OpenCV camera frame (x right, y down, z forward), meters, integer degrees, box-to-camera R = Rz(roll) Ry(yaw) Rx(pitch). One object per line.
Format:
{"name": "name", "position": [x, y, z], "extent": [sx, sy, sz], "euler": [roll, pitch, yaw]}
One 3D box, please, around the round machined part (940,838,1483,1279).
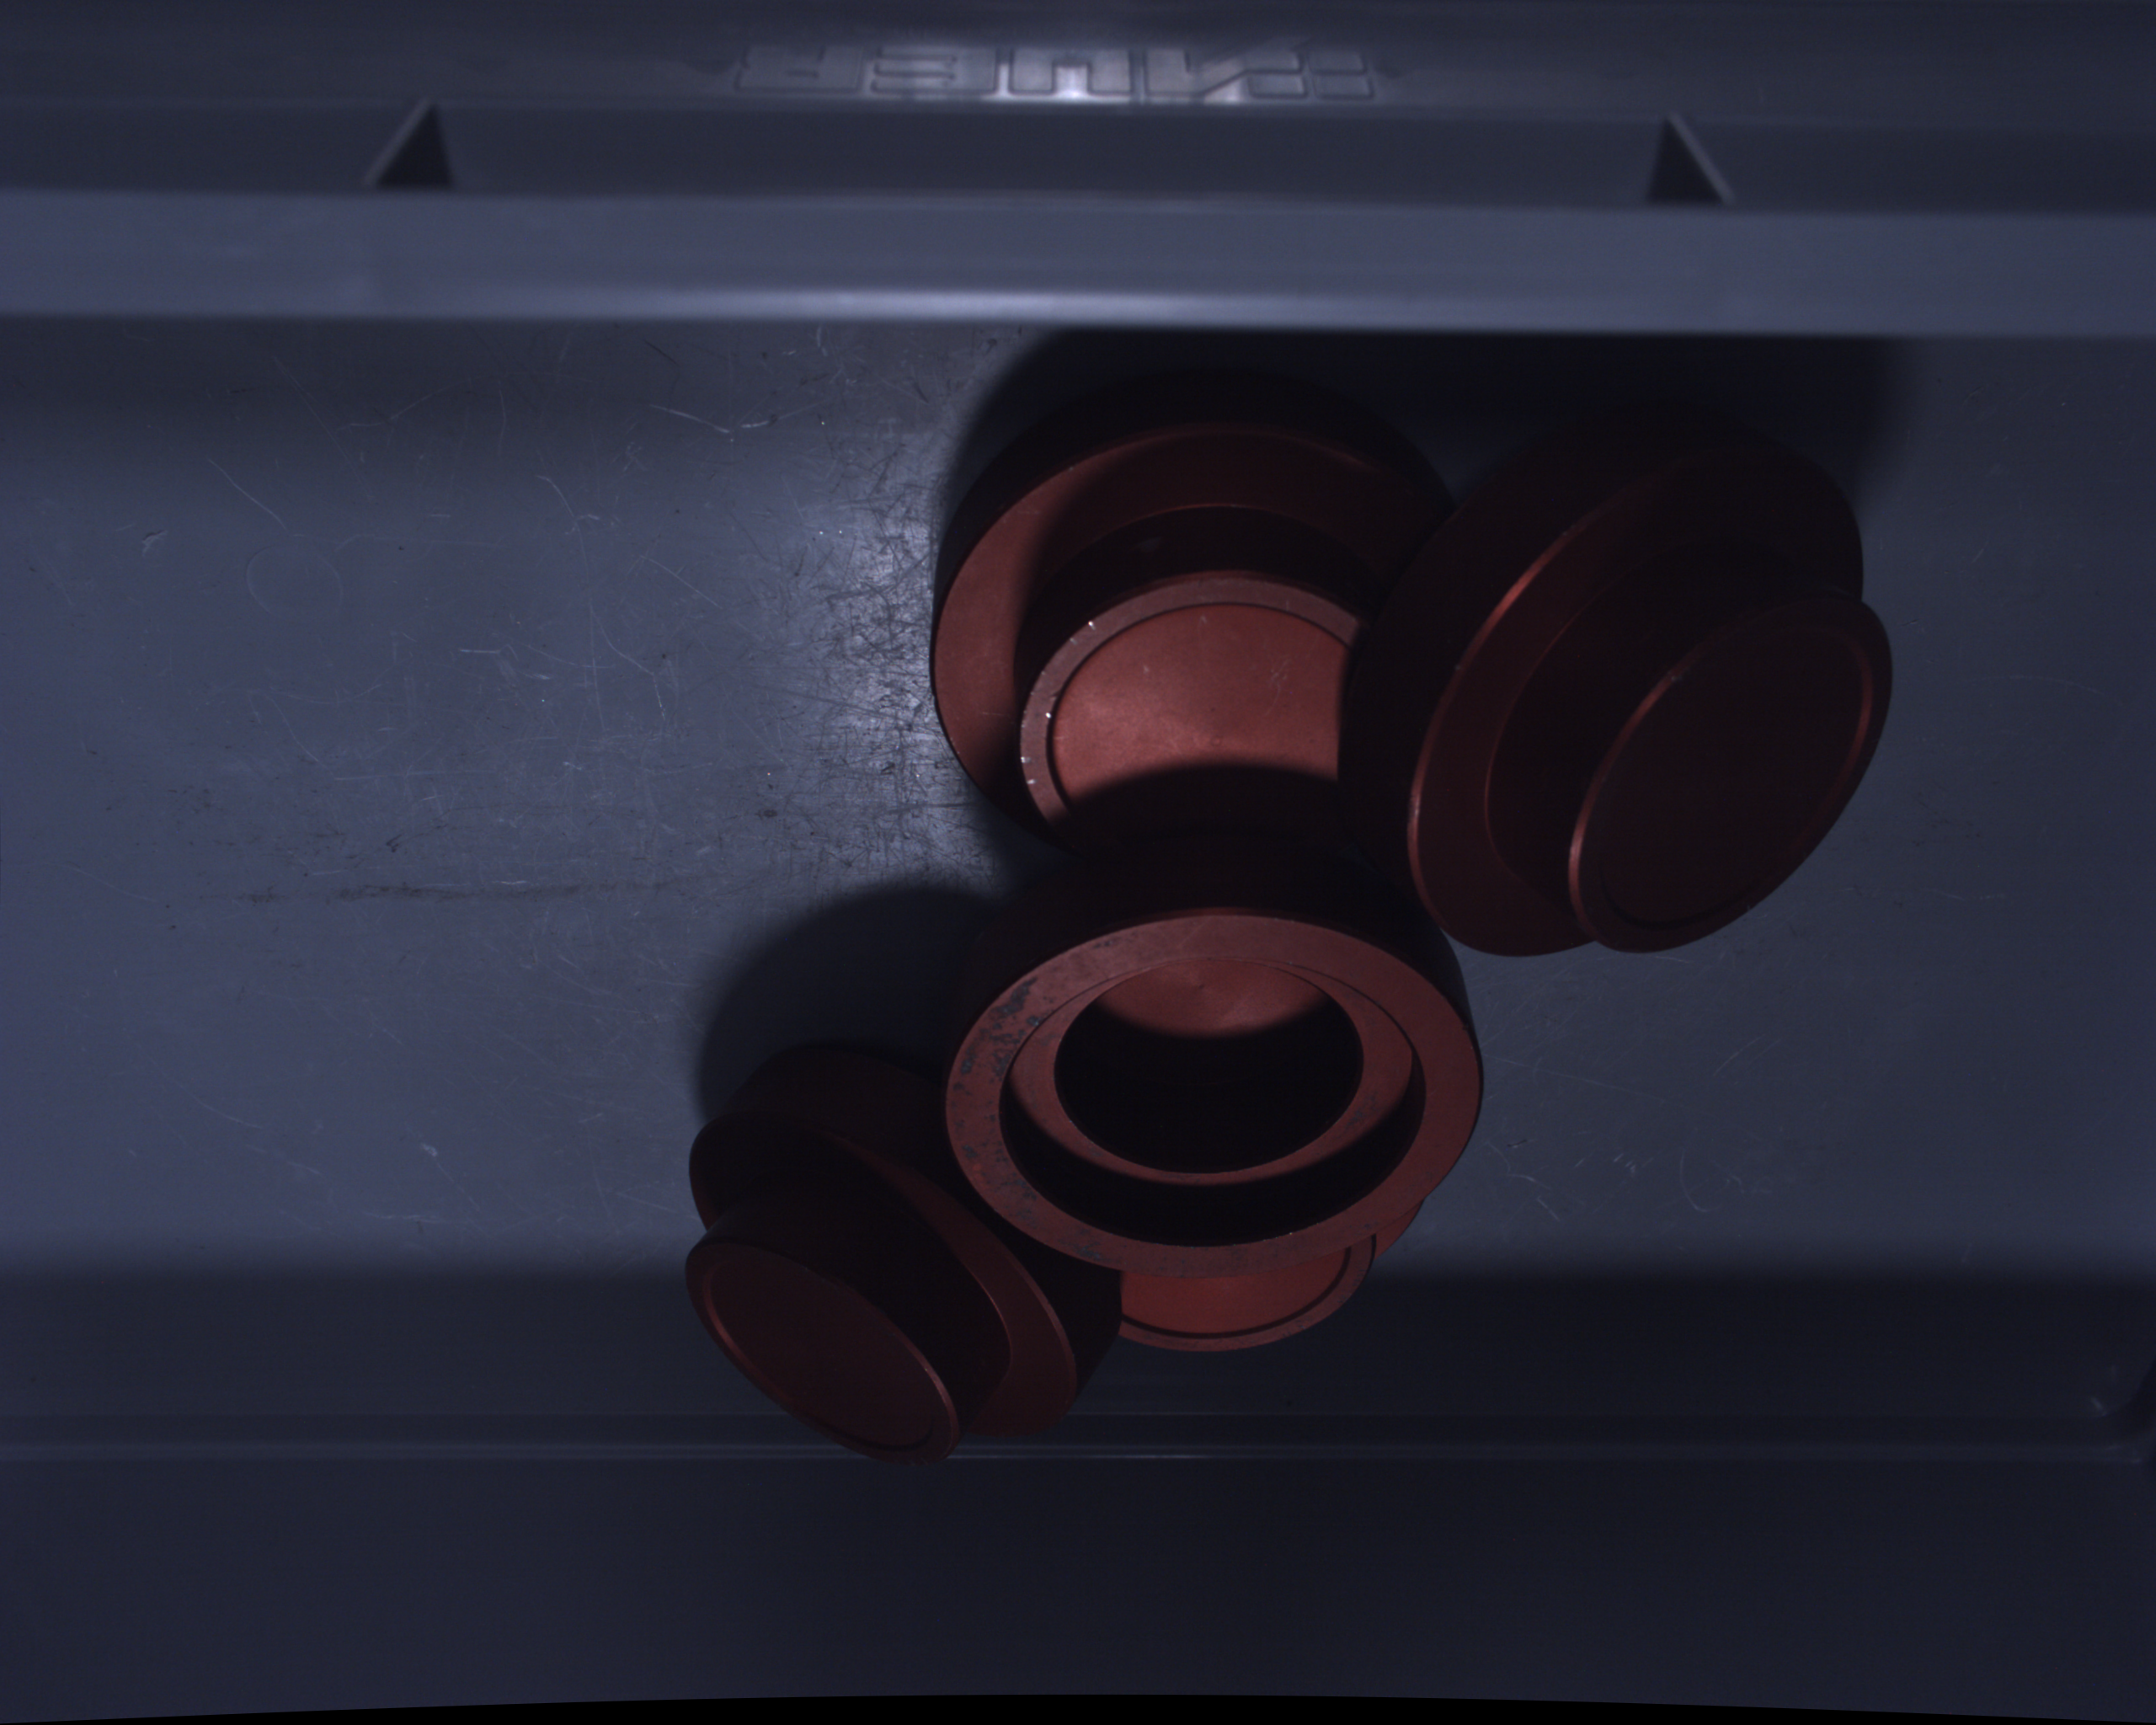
{"name": "round machined part", "position": [0.024, 0.032, 0.395], "extent": [0.099, 0.042, 0.097], "euler": [-1, 130, 0]}

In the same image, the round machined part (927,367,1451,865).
{"name": "round machined part", "position": [0.023, -0.034, 0.367], "extent": [0.099, 0.042, 0.097], "euler": [-1, 130, 0]}

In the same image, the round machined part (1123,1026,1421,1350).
{"name": "round machined part", "position": [0.028, 0.069, 0.455], "extent": [0.099, 0.042, 0.097], "euler": [-1, 130, 0]}

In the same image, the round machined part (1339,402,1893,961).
{"name": "round machined part", "position": [0.096, -0.023, 0.349], "extent": [0.099, 0.042, 0.097], "euler": [-20, 132, -24]}

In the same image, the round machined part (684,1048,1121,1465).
{"name": "round machined part", "position": [-0.044, 0.089, 0.444], "extent": [0.098, 0.042, 0.097], "euler": [21, 138, 21]}
